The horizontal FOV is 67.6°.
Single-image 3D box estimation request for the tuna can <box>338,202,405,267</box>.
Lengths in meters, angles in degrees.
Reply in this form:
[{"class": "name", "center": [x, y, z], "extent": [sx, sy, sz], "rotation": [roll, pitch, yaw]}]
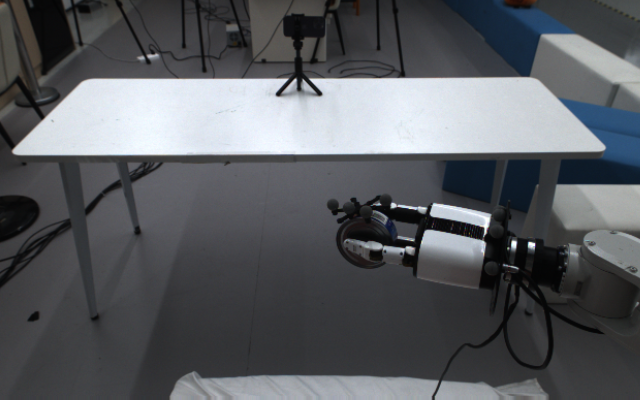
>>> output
[{"class": "tuna can", "center": [0.071, 0.056, 0.709], "extent": [0.085, 0.085, 0.034], "rotation": [13, 29, 15]}]
